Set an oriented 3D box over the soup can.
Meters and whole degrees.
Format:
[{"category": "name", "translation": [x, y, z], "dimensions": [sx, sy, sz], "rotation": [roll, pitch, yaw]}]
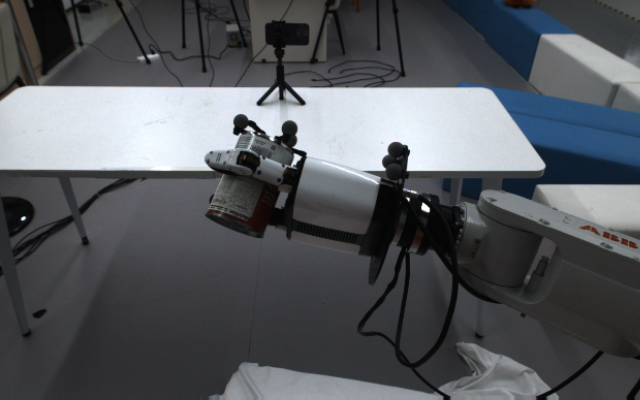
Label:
[{"category": "soup can", "translation": [-0.075, -0.016, 0.541], "dimensions": [0.067, 0.067, 0.101], "rotation": [15, 75, 18]}]
